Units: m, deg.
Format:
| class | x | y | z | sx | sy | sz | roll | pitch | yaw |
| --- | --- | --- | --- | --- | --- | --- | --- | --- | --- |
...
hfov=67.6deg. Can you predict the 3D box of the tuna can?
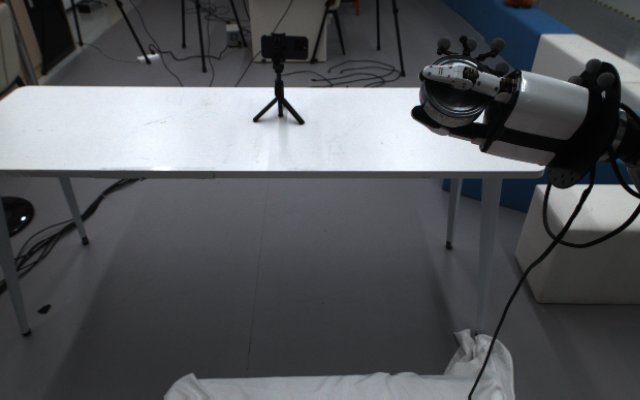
| class | x | y | z | sx | sy | sz | roll | pitch | yaw |
| --- | --- | --- | --- | --- | --- | --- | --- | --- | --- |
| tuna can | 0.170 | -0.139 | 0.607 | 0.085 | 0.034 | 0.085 | 0 | 72 | 0 |
